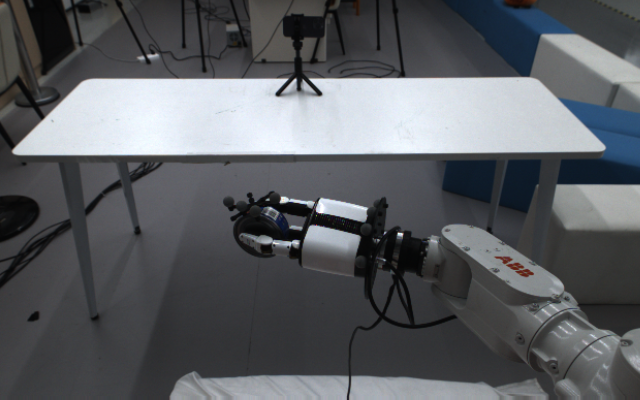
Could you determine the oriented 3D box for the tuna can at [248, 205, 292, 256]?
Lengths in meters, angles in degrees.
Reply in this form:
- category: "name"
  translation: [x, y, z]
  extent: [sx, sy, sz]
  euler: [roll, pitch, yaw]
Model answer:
- category: "tuna can"
  translation: [-0.087, 0.051, 0.776]
  extent: [0.085, 0.085, 0.034]
  euler: [10, 33, 11]
